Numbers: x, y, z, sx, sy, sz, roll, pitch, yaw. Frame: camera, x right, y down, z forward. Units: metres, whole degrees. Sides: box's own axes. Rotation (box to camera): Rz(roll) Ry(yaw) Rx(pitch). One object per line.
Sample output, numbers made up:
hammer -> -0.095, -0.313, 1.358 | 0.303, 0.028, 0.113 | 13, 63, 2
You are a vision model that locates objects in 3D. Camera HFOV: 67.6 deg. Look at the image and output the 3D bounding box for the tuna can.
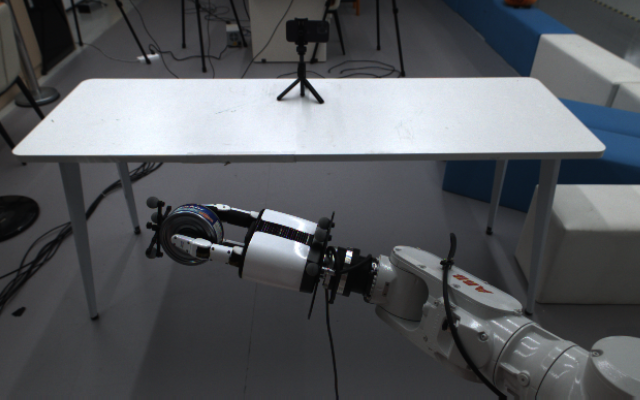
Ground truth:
tuna can -> -0.182, 0.054, 0.690 | 0.085, 0.085, 0.034 | 4, 19, 3
